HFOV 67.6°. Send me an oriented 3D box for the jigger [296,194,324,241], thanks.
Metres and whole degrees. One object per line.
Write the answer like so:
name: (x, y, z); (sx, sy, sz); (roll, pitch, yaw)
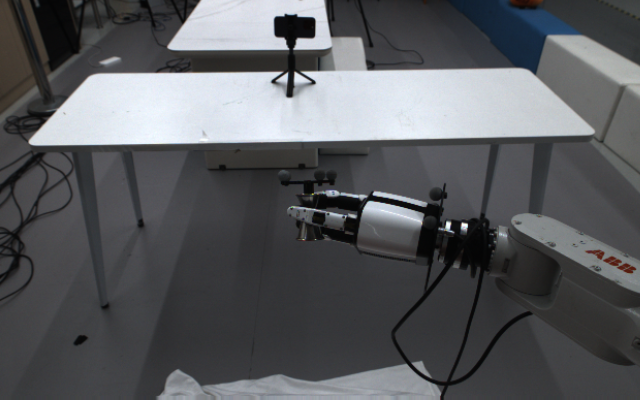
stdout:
jigger: (-0.016, 0.024, 0.718); (0.043, 0.071, 0.043); (-2, 3, 0)
